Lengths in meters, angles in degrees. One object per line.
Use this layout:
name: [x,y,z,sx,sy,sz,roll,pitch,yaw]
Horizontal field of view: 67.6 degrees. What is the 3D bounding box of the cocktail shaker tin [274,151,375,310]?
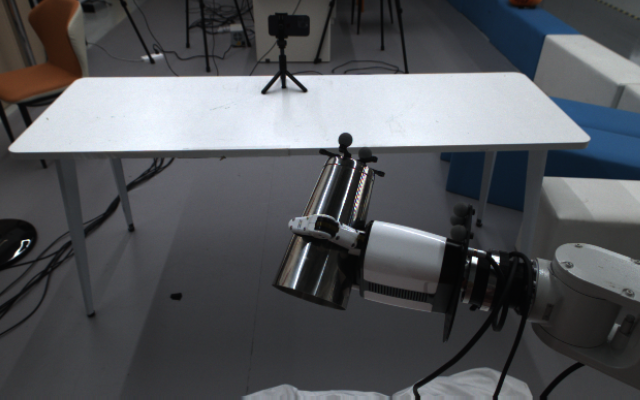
cocktail shaker tin: [0.013,0.038,0.589,0.093,0.093,0.170,14,73,17]
